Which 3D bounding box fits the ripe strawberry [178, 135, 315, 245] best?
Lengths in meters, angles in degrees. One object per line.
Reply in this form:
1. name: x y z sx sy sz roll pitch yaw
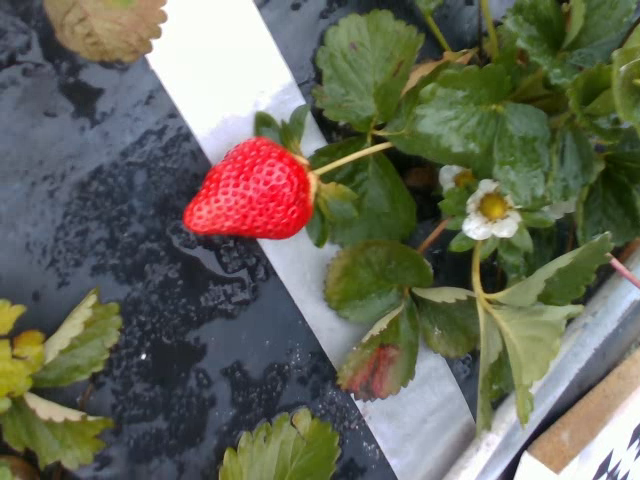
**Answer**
1. ripe strawberry: -0.026 -0.015 0.216 0.051 0.042 0.037 -26 45 -34
